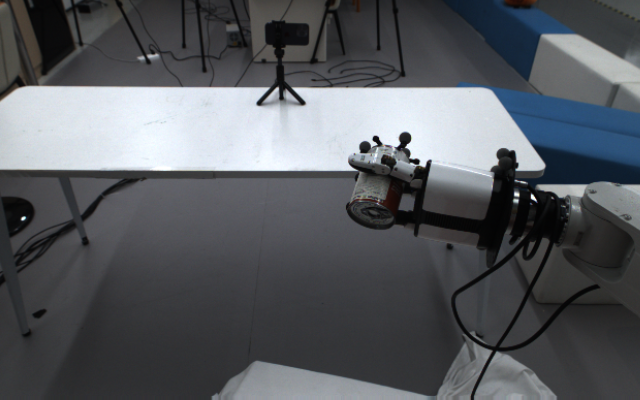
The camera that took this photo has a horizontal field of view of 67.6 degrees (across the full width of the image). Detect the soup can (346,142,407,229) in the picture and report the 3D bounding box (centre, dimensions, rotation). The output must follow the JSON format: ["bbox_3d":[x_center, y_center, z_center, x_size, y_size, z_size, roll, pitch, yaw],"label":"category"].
[{"bbox_3d":[0.084,-0.021,0.680,0.067,0.067,0.101,12,59,14],"label":"soup can"}]
